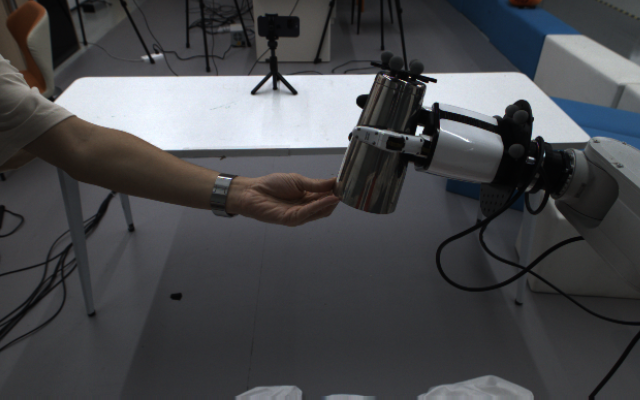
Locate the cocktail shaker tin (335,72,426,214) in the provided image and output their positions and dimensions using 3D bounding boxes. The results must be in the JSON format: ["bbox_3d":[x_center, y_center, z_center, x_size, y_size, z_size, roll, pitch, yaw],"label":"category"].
[{"bbox_3d":[0.083,-0.079,0.646,0.093,0.170,0.093,15,22,-6],"label":"cocktail shaker tin"}]
